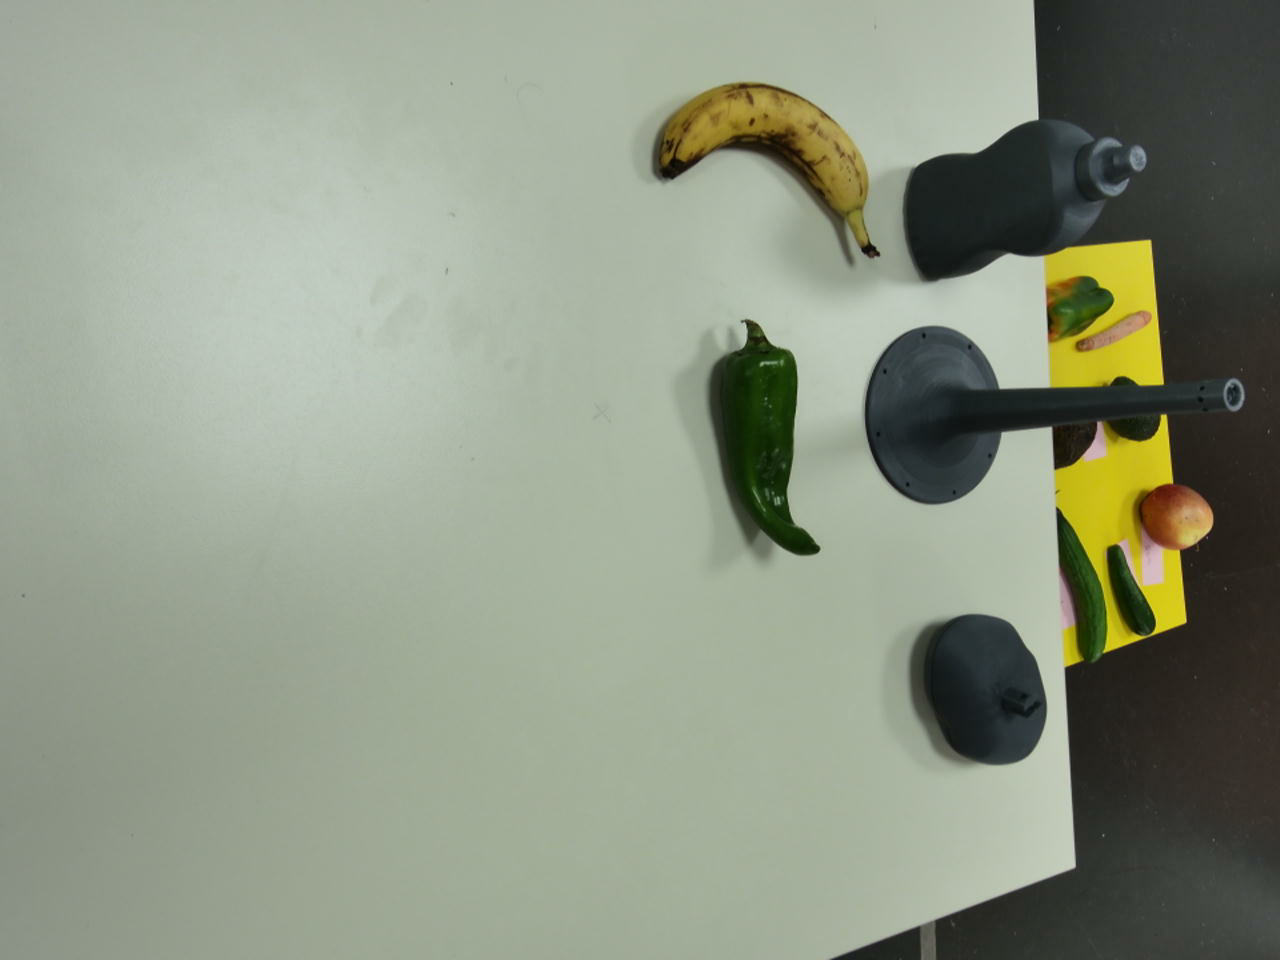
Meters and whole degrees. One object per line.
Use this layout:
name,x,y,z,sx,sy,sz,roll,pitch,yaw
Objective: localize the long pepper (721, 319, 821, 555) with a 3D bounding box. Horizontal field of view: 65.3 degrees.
long pepper,0.093,-0.031,0.725,0.058,0.065,0.175,-7,94,-28
